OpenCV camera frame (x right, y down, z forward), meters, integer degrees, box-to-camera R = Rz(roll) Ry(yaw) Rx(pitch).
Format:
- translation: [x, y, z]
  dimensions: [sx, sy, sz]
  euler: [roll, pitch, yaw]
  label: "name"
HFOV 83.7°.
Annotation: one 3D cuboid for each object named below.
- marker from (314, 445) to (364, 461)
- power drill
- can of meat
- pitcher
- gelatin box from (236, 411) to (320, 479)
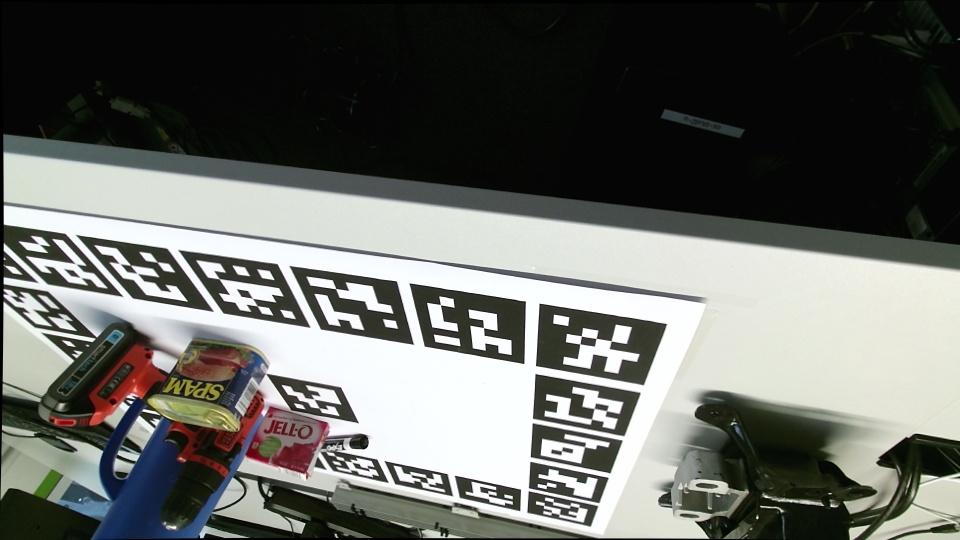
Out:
- translation: [-0.219, 0.270, 0.790]
  dimensions: [0.121, 0.019, 0.020]
  euler: [-14, 129, 28]
  label: "marker"
- translation: [-0.389, 0.201, 0.652]
  dimensions: [0.187, 0.184, 0.057]
  euler: [35, 132, -11]
  label: "power drill"
- translation: [-0.315, 0.133, 0.625]
  dimensions: [0.102, 0.083, 0.058]
  euler: [7, 139, 11]
  label: "can of meat"
- translation: [-0.437, 0.282, 0.720]
  dimensions: [0.189, 0.241, 0.133]
  euler: [25, 134, -19]
  label: "pitcher"
- translation: [-0.279, 0.243, 0.744]
  dimensions: [0.089, 0.073, 0.030]
  euler: [16, 134, 3]
  label: "gelatin box"
